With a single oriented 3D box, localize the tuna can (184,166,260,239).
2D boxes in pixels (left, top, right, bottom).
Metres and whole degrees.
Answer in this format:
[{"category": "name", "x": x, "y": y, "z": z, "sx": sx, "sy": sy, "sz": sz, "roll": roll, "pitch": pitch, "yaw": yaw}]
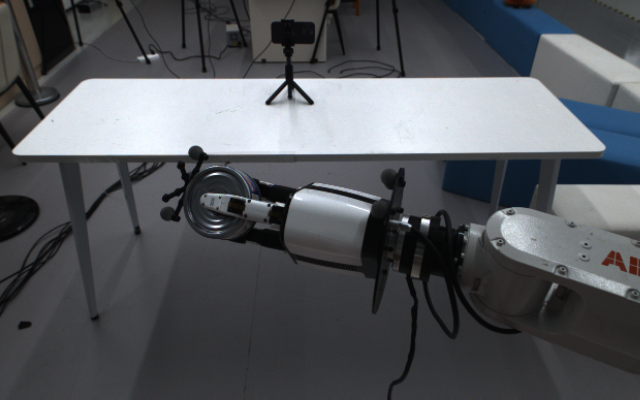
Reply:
[{"category": "tuna can", "x": -0.109, "y": 0.008, "z": 0.558, "sx": 0.085, "sy": 0.085, "sz": 0.034, "roll": 12, "pitch": -4, "yaw": 14}]
